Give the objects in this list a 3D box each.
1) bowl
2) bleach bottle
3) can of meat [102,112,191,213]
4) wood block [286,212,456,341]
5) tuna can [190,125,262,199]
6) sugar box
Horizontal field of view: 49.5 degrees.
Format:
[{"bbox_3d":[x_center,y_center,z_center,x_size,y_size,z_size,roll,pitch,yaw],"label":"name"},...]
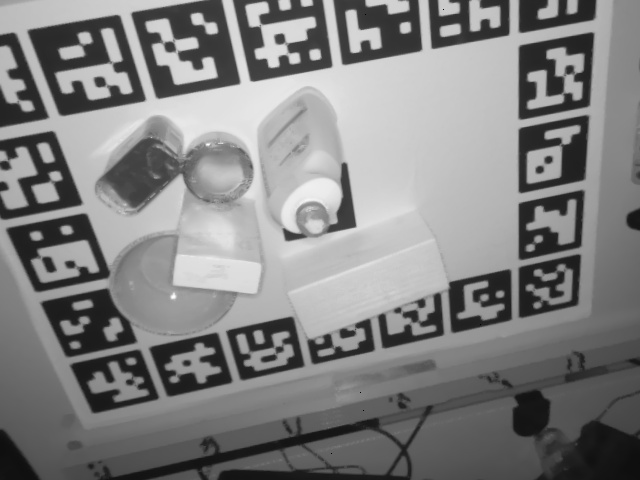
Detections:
[{"bbox_3d":[-0.195,0.049,0.901,0.163,0.055,0.160,-6,119,-11],"label":"bowl"},{"bbox_3d":[-0.006,-0.084,0.750,0.102,0.251,0.068,-33,119,10],"label":"bleach bottle"},{"bbox_3d":[-0.200,-0.094,0.811,0.101,0.084,0.058,-36,121,13],"label":"can of meat"},{"bbox_3d":[0.068,0.048,0.930,0.206,0.090,0.090,-18,116,2],"label":"wood block"},{"bbox_3d":[-0.115,-0.096,0.845,0.086,0.034,0.085,-4,116,-8],"label":"tuna can"},{"bbox_3d":[-0.120,-0.005,0.812,0.094,0.176,0.045,7,116,-16],"label":"sugar box"}]
